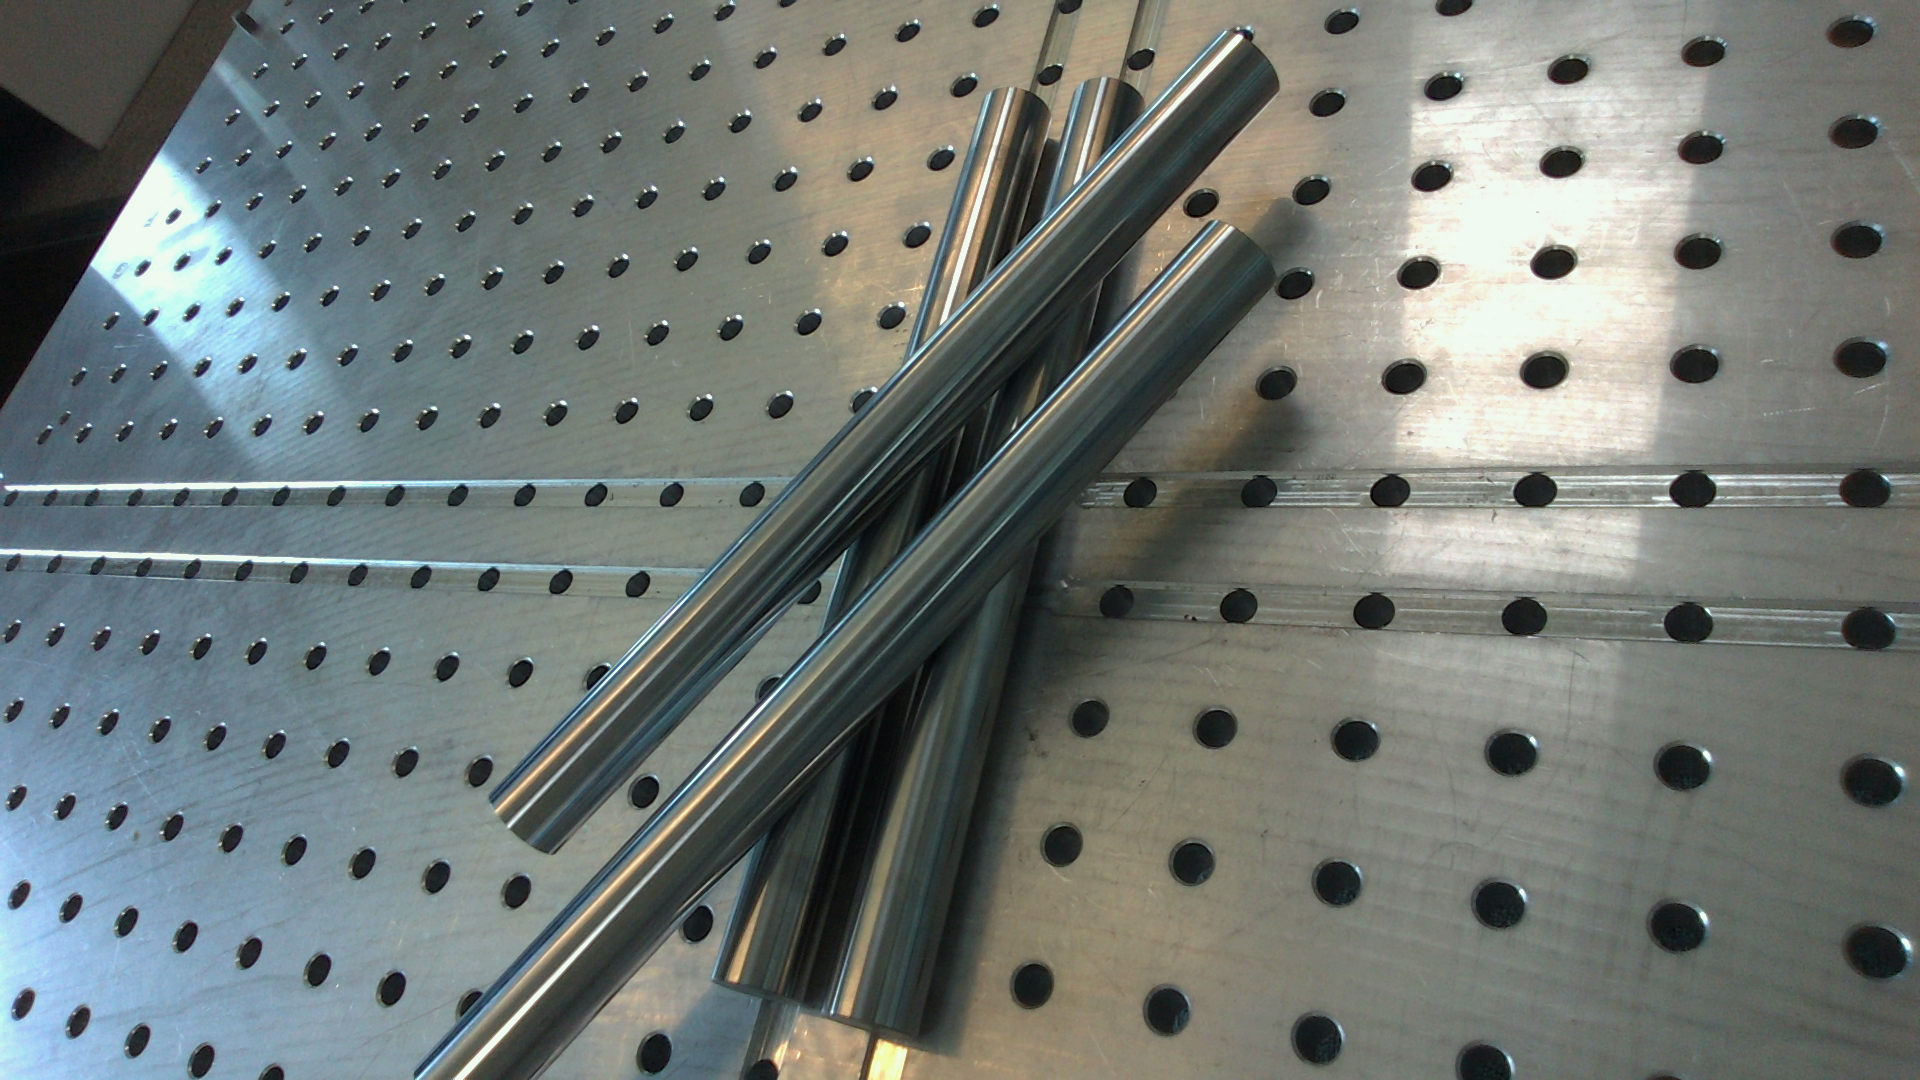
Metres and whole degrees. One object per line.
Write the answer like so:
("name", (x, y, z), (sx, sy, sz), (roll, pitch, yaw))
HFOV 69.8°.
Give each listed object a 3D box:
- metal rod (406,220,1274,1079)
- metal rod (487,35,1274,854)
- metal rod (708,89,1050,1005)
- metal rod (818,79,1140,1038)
("metal rod", (-0.027, 0.032, 0.359), (0.300, 0.025, 0.025), (-47, 51, -5))
("metal rod", (-0.019, -0.030, 0.394), (0.300, 0.025, 0.025), (-47, 51, -5))
("metal rod", (-0.017, -0.016, 0.416), (0.025, 0.025, 0.300), (1, 62, 29))
("metal rod", (0.013, -0.013, 0.399), (0.025, 0.025, 0.300), (1, 62, 29))
